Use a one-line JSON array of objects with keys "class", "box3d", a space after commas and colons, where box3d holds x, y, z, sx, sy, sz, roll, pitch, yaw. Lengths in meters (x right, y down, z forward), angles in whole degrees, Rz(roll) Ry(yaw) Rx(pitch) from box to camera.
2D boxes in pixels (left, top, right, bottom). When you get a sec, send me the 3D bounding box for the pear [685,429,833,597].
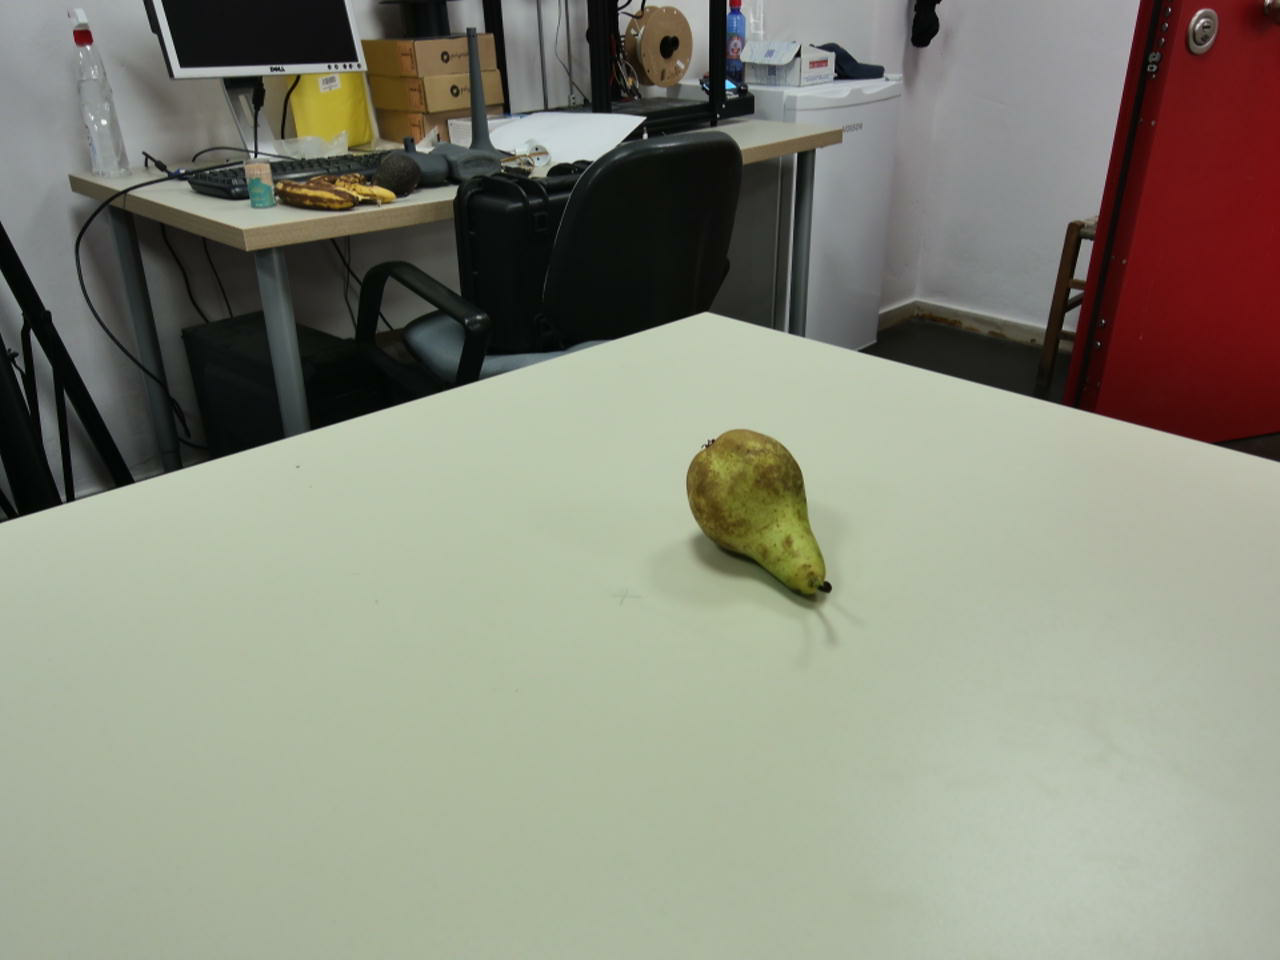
[{"class": "pear", "box3d": [0.085, 0.018, 0.590, 0.071, 0.075, 0.144, -17, 29, -32]}]
